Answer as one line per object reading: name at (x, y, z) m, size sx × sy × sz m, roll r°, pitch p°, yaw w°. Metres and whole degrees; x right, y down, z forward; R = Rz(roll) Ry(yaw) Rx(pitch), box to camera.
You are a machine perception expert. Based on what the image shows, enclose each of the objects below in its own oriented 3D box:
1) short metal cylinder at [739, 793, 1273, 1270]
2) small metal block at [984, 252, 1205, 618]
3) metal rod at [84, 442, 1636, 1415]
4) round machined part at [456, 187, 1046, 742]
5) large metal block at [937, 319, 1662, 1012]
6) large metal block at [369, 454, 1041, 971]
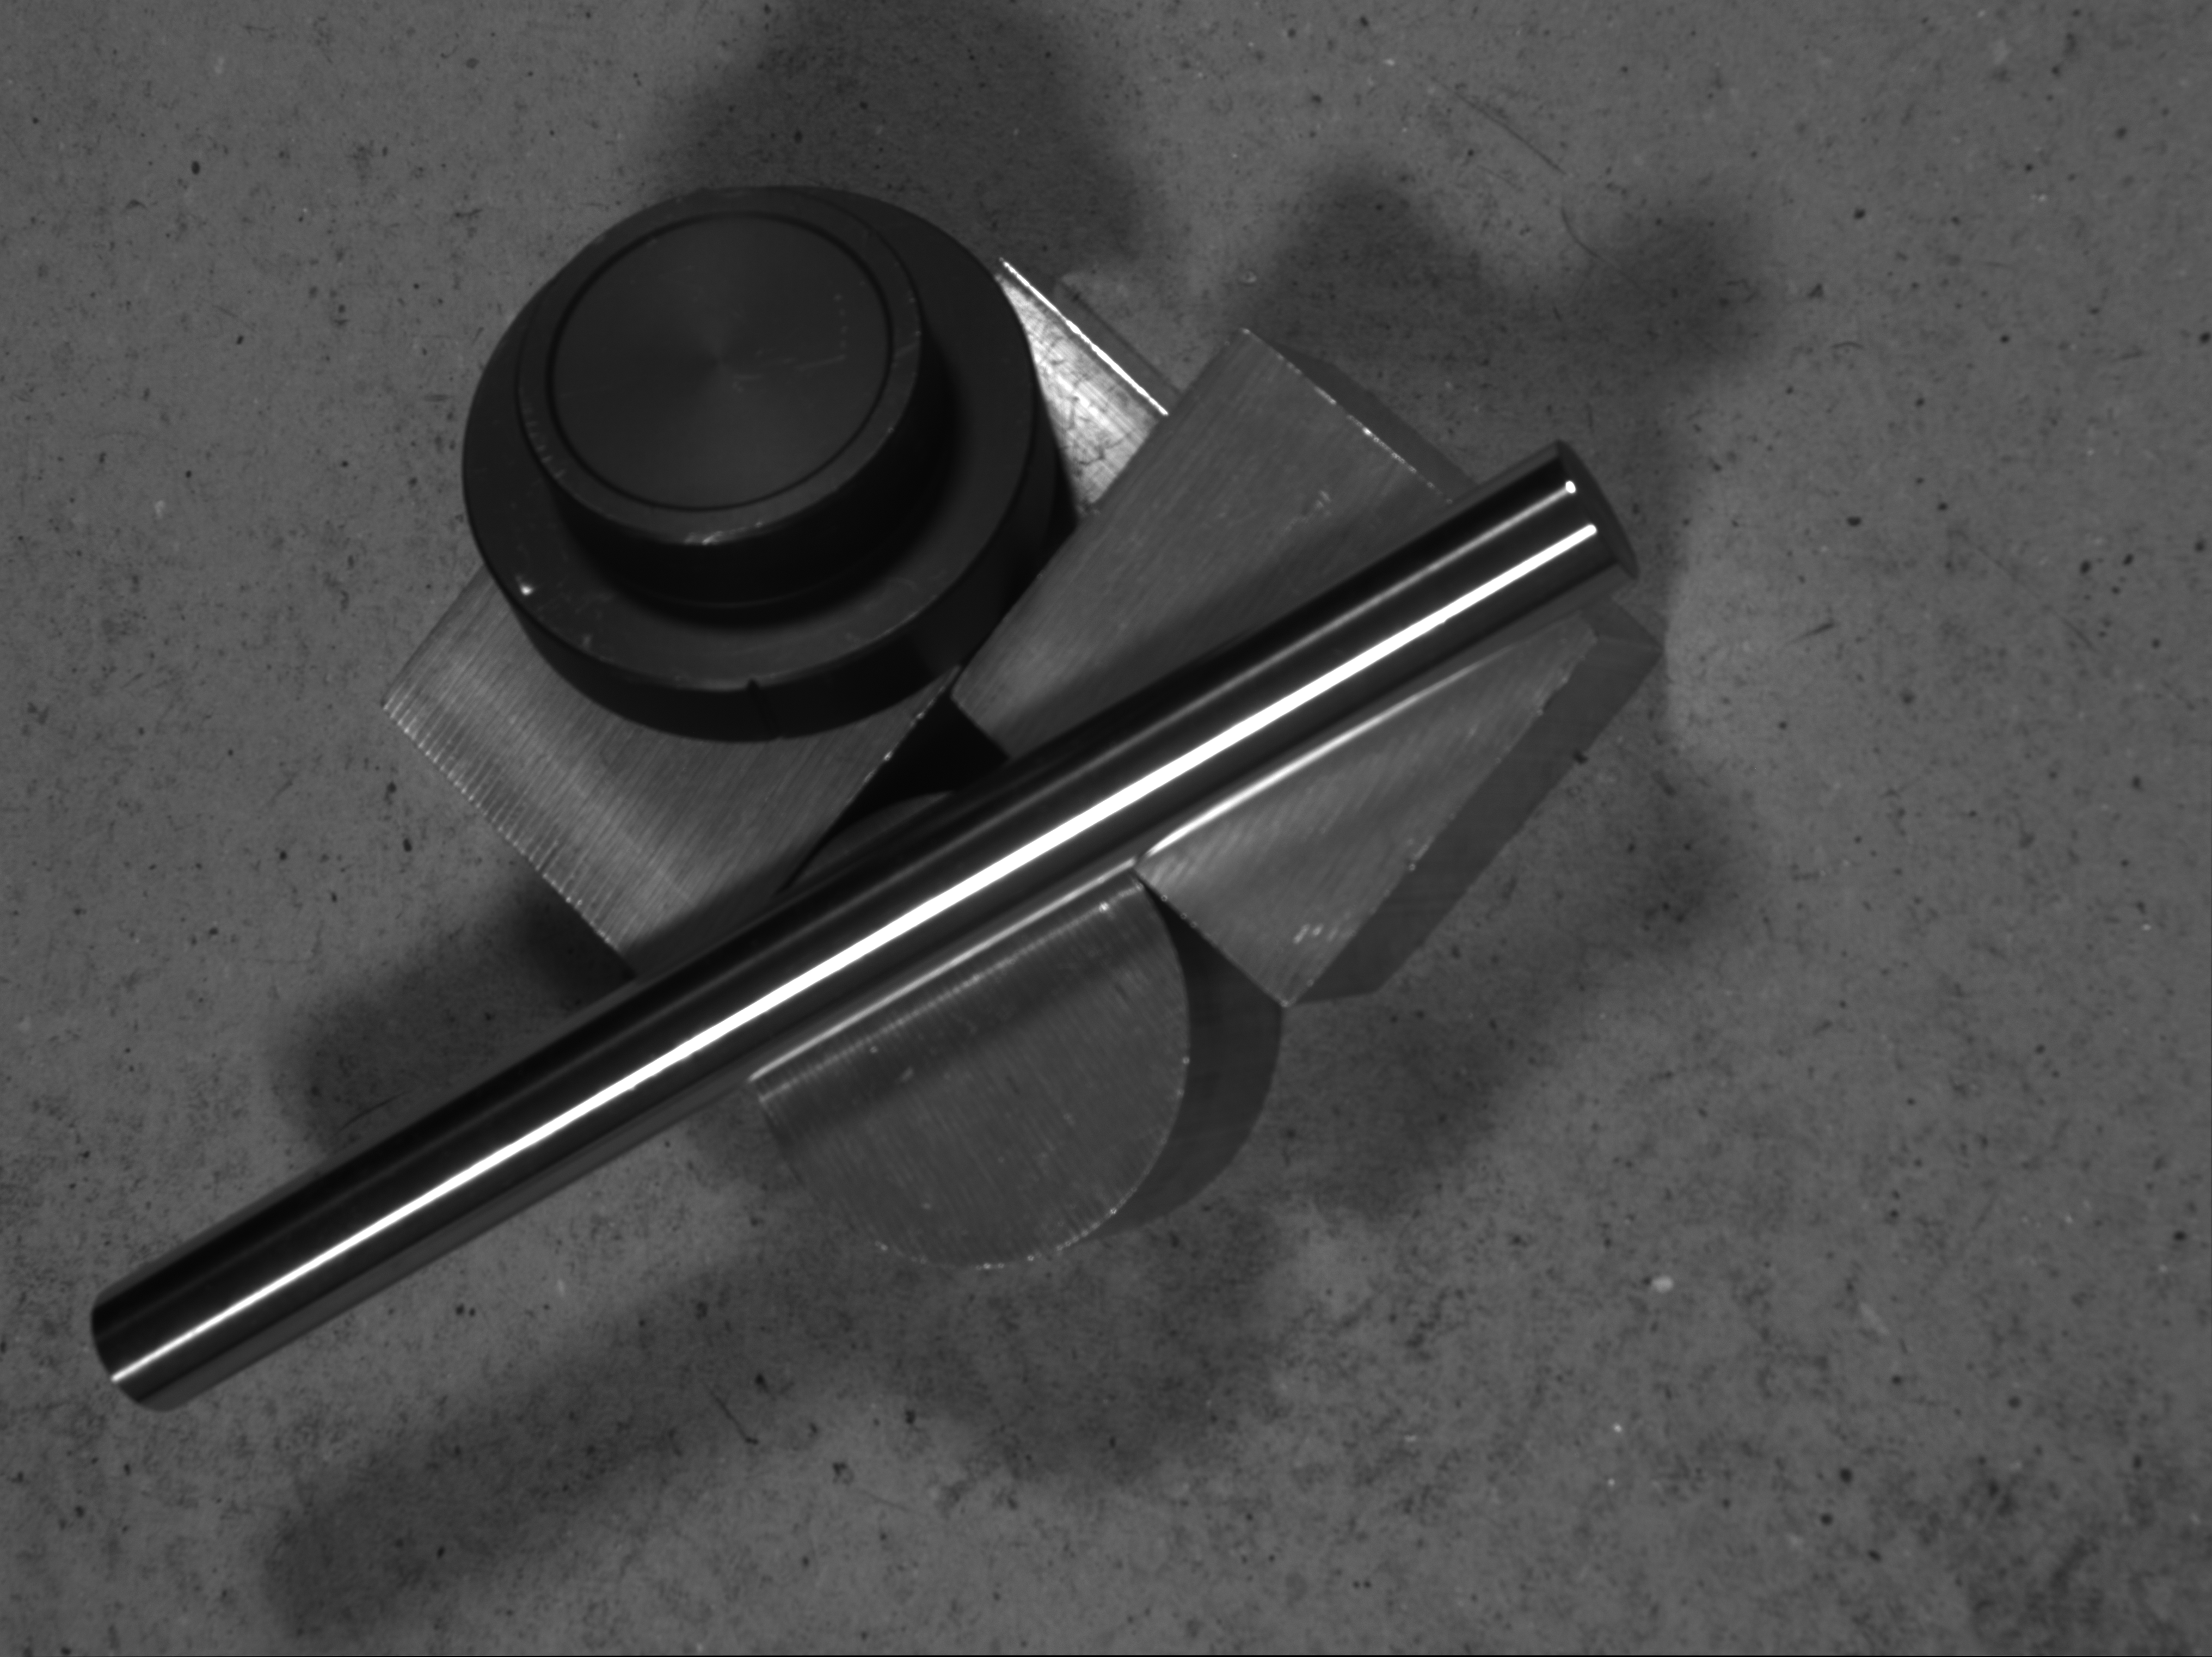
short metal cylinder at (-0.017, 0.034, 0.636) m, size 0.080 × 0.050 × 0.080 m, roll 0°, pitch 90°, yaw 20°
small metal block at (-0.014, -0.065, 0.649) m, size 0.050 × 0.025 × 0.050 m, roll 44°, pitch 104°, yaw 14°
metal rod at (-0.049, 0.022, 0.609) m, size 0.300 × 0.025 × 0.025 m, roll -30°, pitch 80°, yaw 17°
round machined part at (-0.061, -0.067, 0.610) m, size 0.098 × 0.042 × 0.098 m, roll -3°, pitch 64°, yaw 6°
large metal block at (0.033, -0.027, 0.620) m, size 0.080 × 0.050 × 0.080 m, roll 43°, pitch 103°, yaw 15°
large metal block at (-0.069, -0.025, 0.655) m, size 0.080 × 0.050 × 0.080 m, roll 44°, pitch 103°, yaw 15°
